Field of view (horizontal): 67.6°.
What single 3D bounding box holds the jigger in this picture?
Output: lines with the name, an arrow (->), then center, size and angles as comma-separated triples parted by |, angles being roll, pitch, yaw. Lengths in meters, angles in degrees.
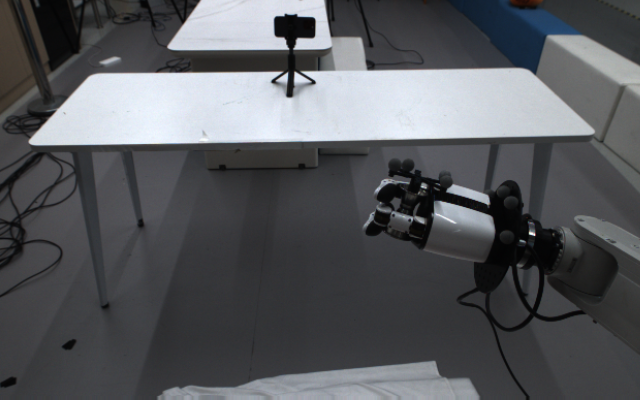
jigger -> 0.120, 0.016, 0.671 | 0.043, 0.071, 0.043 | 15, 17, -5
